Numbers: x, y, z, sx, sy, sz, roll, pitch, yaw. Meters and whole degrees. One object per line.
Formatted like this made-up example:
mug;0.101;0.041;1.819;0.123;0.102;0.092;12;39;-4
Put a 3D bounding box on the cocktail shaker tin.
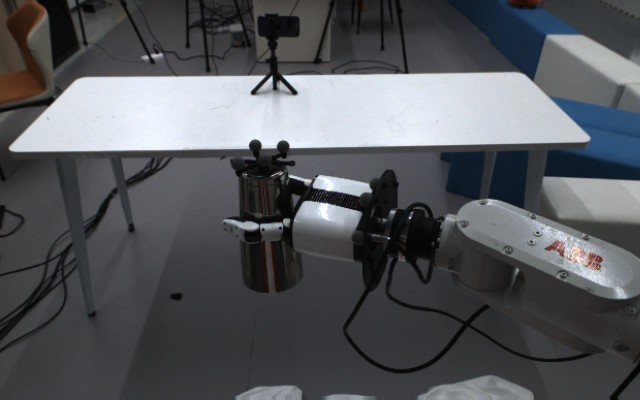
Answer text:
cocktail shaker tin;-0.071;0.034;0.681;0.093;0.170;0.093;-2;26;1
